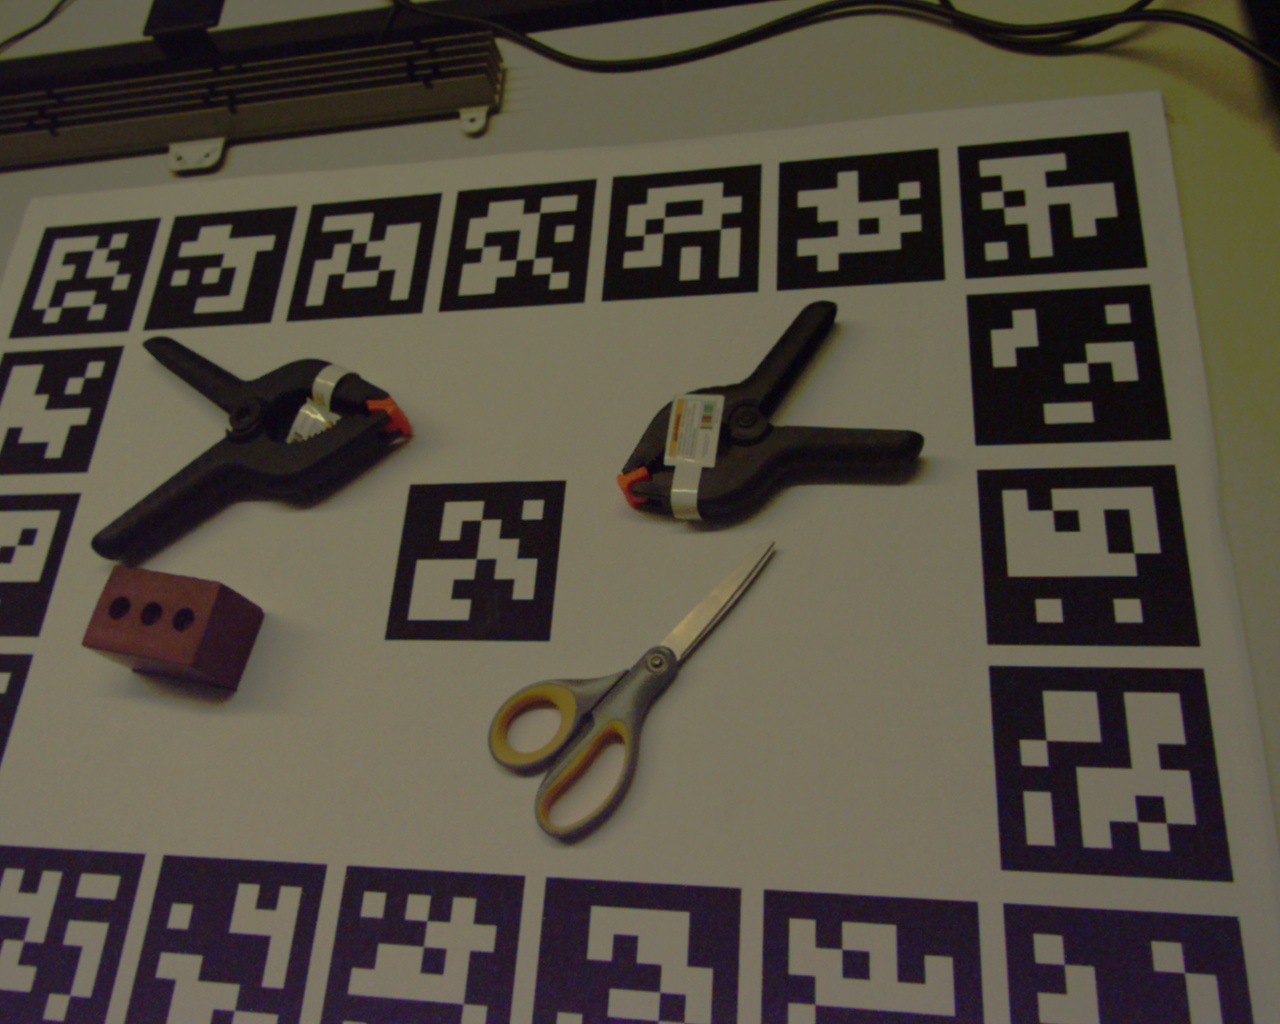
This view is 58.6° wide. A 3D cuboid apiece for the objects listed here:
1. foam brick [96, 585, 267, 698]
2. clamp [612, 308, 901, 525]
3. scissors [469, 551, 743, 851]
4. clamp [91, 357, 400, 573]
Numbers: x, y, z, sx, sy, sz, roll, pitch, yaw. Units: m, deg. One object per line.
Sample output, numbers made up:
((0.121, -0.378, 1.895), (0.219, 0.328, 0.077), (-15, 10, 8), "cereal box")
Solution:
((-0.287, 0.082, 0.716), (0.079, 0.051, 0.053), (4, 70, 20), "foam brick")
((0.058, -0.042, 0.695), (0.165, 0.036, 0.122), (-27, 71, 2), "clamp")
((-0.010, 0.095, 0.655), (0.088, 0.016, 0.202), (39, 79, 17), "scissors")
((-0.262, -0.043, 0.769), (0.204, 0.036, 0.166), (-5, 63, 11), "clamp")
